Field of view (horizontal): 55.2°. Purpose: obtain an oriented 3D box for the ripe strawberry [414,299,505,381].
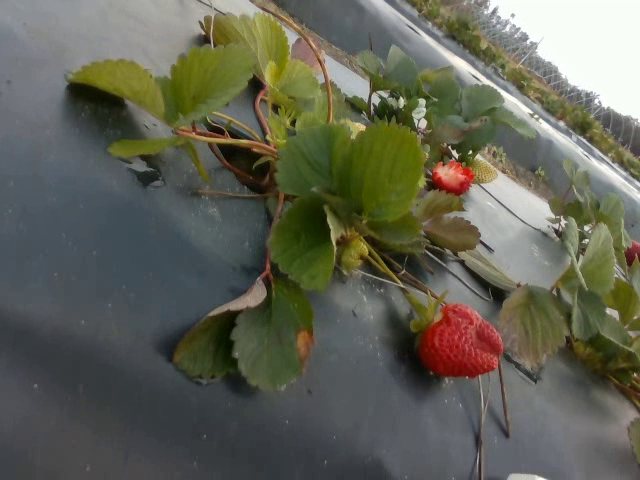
[{"bbox_3d":[0.023,0.017,0.097,0.015,0.014,0.017,23,53,31],"label":"ripe strawberry"}]
